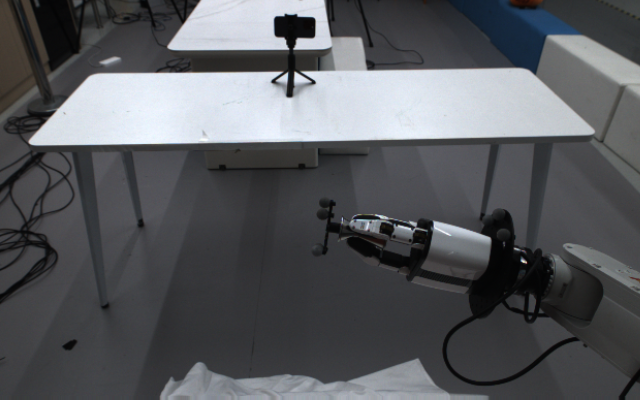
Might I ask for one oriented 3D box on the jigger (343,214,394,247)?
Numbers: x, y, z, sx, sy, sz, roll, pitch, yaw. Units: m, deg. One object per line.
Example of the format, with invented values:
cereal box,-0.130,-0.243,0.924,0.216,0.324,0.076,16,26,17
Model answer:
jigger,0.069,0.044,0.703,0.071,0.043,0.043,9,35,1
